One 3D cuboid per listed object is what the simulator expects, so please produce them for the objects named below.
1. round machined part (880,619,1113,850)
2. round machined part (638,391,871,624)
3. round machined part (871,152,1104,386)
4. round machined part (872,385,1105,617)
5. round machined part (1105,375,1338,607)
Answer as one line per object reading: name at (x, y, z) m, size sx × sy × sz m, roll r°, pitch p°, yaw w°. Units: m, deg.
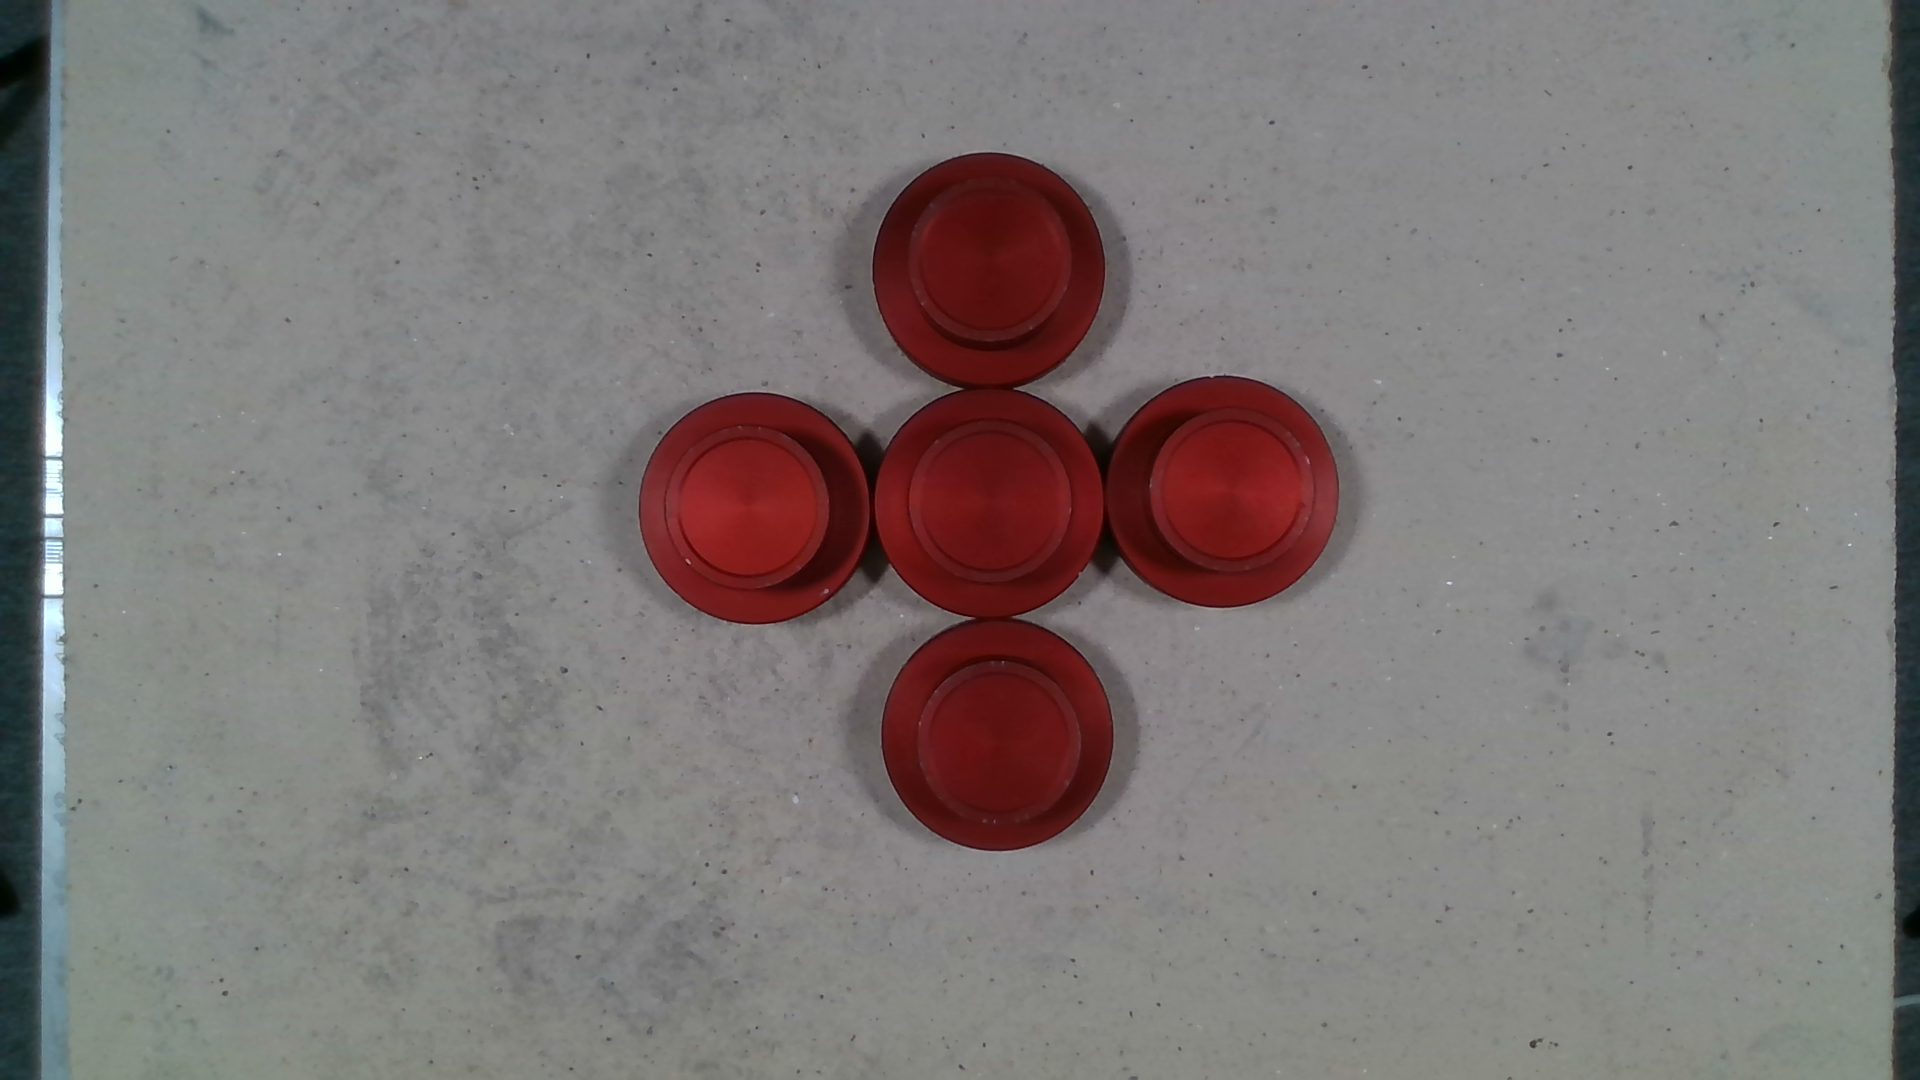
round machined part at (0.015, 0.082, 0.579) m, size 0.098 × 0.042 × 0.098 m, roll 0°, pitch 90°, yaw 0°
round machined part at (-0.087, -0.014, 0.578) m, size 0.098 × 0.042 × 0.098 m, roll 0°, pitch 90°, yaw 0°
round machined part at (0.012, -0.114, 0.578) m, size 0.098 × 0.042 × 0.098 m, roll 0°, pitch 90°, yaw 0°
round machined part at (0.012, -0.016, 0.579) m, size 0.098 × 0.042 × 0.098 m, roll 0°, pitch 90°, yaw 0°
round machined part at (0.110, -0.021, 0.579) m, size 0.098 × 0.042 × 0.098 m, roll 0°, pitch 90°, yaw 0°
